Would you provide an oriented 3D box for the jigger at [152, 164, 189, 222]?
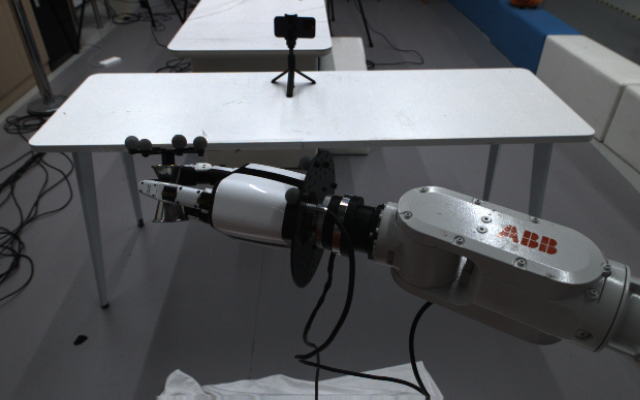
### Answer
[{"bbox_3d":[-0.184,-0.008,0.593,0.043,0.071,0.043,-2,4,0],"label":"jigger"}]
